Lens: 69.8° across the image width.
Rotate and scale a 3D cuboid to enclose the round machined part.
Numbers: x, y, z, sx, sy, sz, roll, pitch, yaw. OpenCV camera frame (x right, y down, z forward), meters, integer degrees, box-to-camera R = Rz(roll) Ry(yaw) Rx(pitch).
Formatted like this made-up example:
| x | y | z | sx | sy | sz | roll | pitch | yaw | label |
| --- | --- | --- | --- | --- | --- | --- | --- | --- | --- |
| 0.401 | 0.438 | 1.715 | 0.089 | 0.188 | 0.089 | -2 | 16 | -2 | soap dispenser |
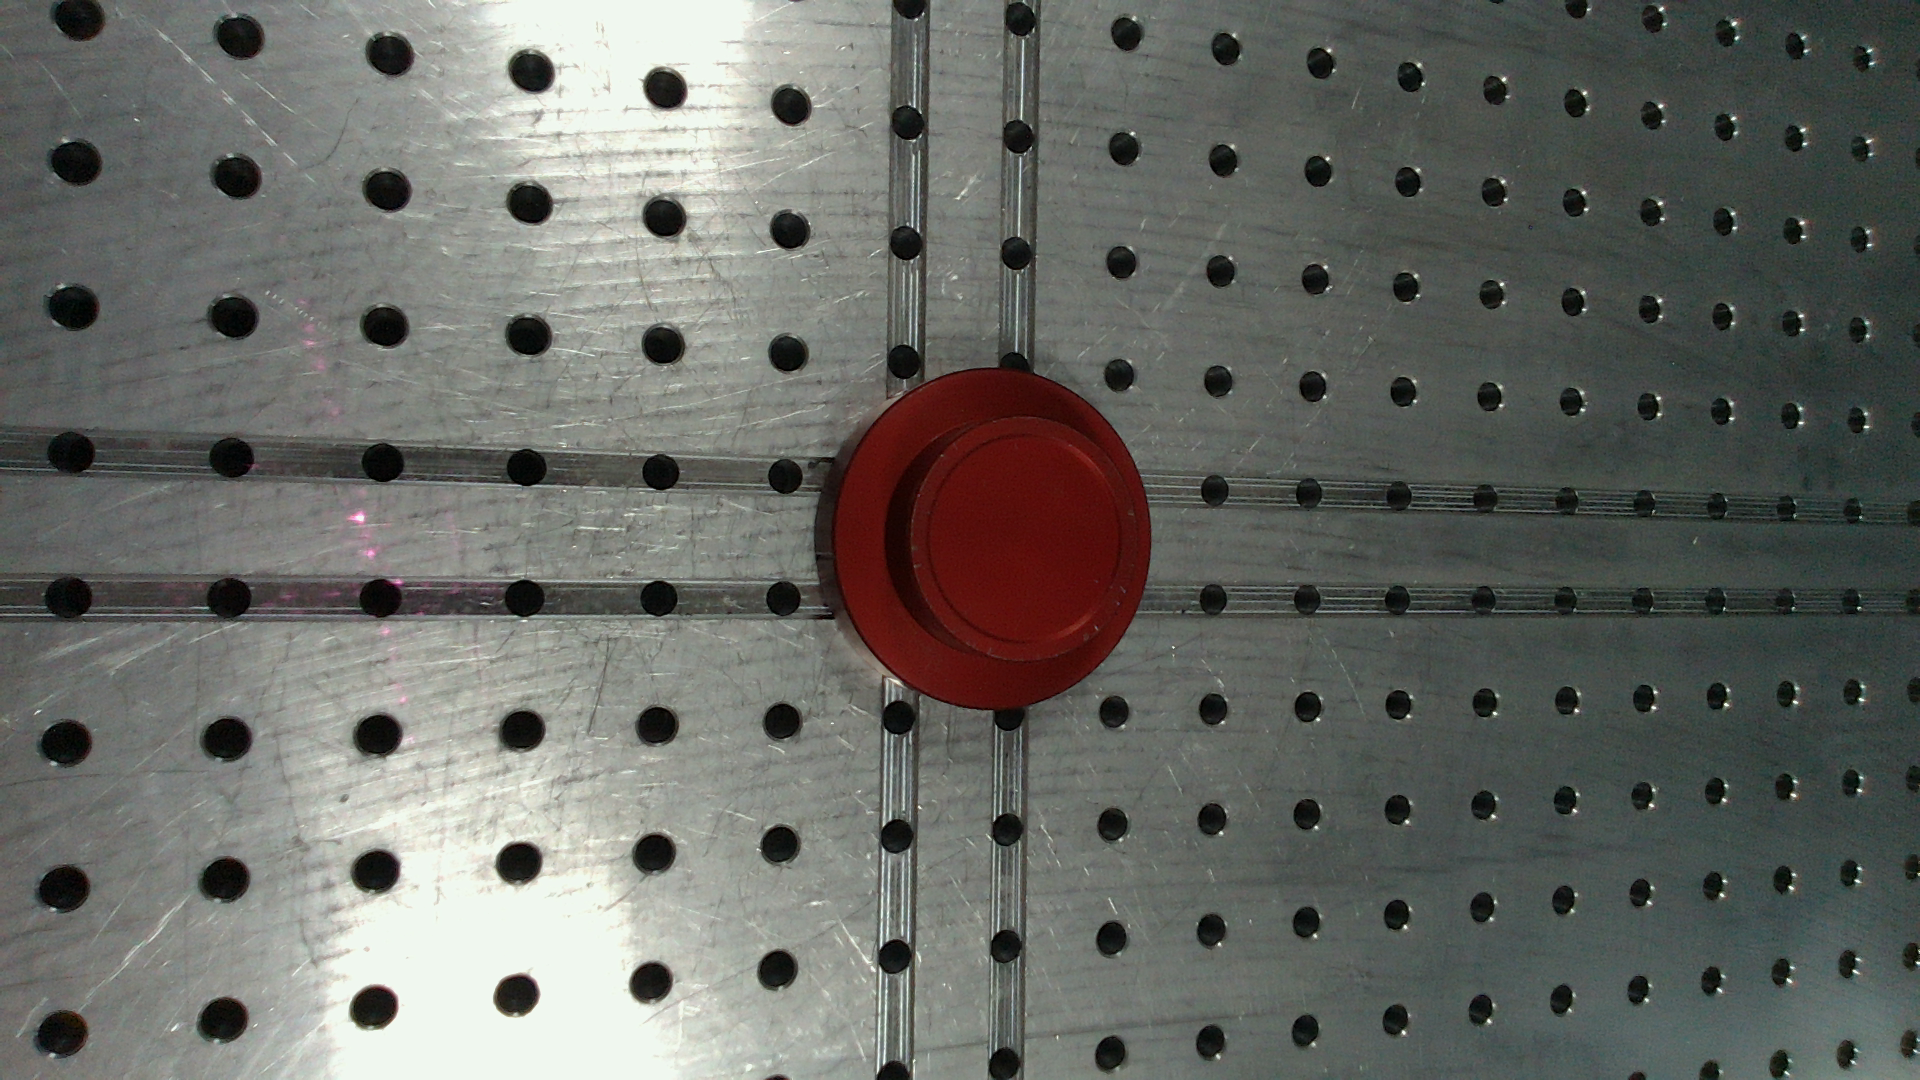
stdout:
| x | y | z | sx | sy | sz | roll | pitch | yaw | label |
| --- | --- | --- | --- | --- | --- | --- | --- | --- | --- |
| 0.011 | 0.000 | 0.390 | 0.098 | 0.042 | 0.098 | 0 | 90 | -20 | round machined part |
